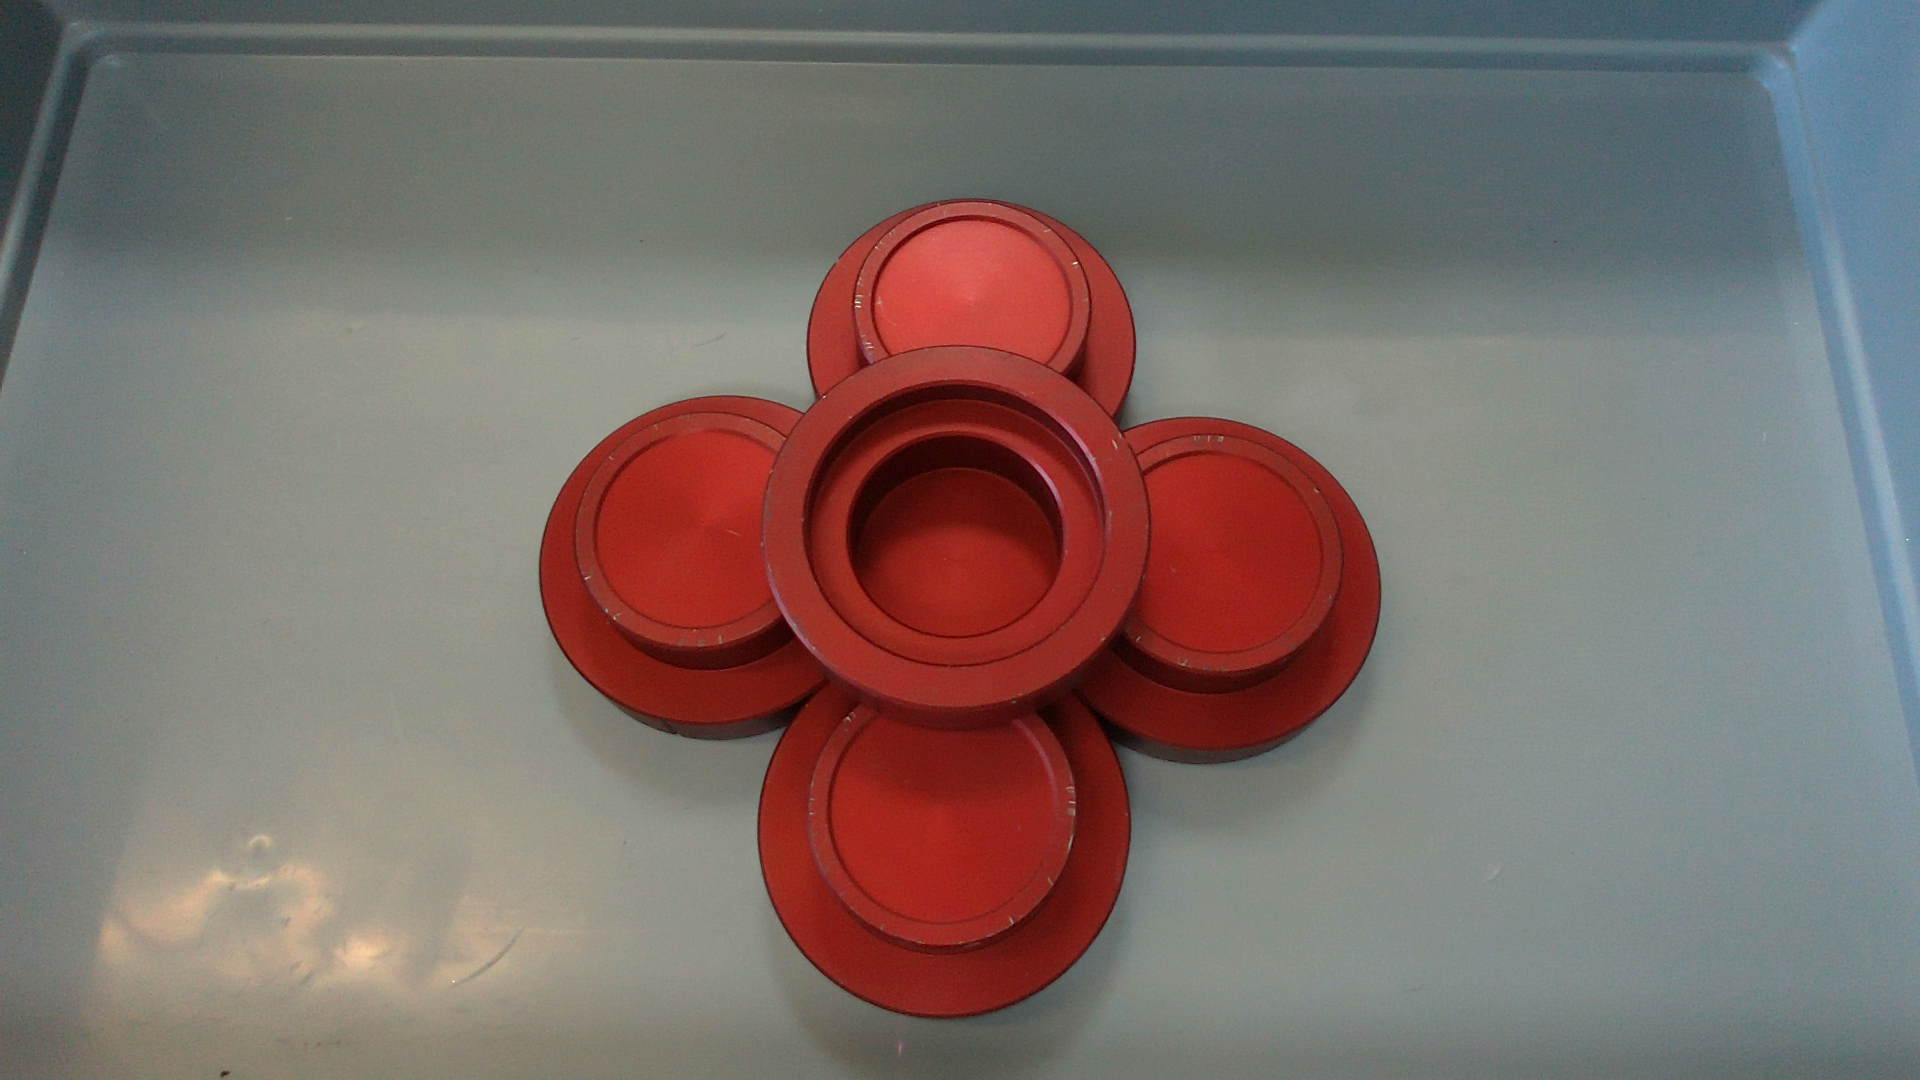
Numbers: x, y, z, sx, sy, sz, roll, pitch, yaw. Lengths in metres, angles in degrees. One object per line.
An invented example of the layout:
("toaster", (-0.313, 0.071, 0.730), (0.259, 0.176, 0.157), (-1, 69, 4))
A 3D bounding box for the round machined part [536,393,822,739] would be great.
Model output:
("round machined part", (-0.069, 0.003, 0.382), (0.098, 0.042, 0.098), (0, 70, 0))

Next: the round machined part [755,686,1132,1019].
("round machined part", (-0.004, 0.072, 0.357), (0.098, 0.042, 0.098), (1, 68, -1))

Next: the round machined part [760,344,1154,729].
("round machined part", (-0.001, 0.002, 0.361), (0.098, 0.042, 0.098), (0, 70, 0))

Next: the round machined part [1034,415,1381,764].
("round machined part", (0.068, 0.009, 0.380), (0.098, 0.042, 0.098), (0, 70, 0))

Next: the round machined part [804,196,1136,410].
("round machined part", (0.003, -0.061, 0.405), (0.098, 0.042, 0.098), (0, 70, 0))
